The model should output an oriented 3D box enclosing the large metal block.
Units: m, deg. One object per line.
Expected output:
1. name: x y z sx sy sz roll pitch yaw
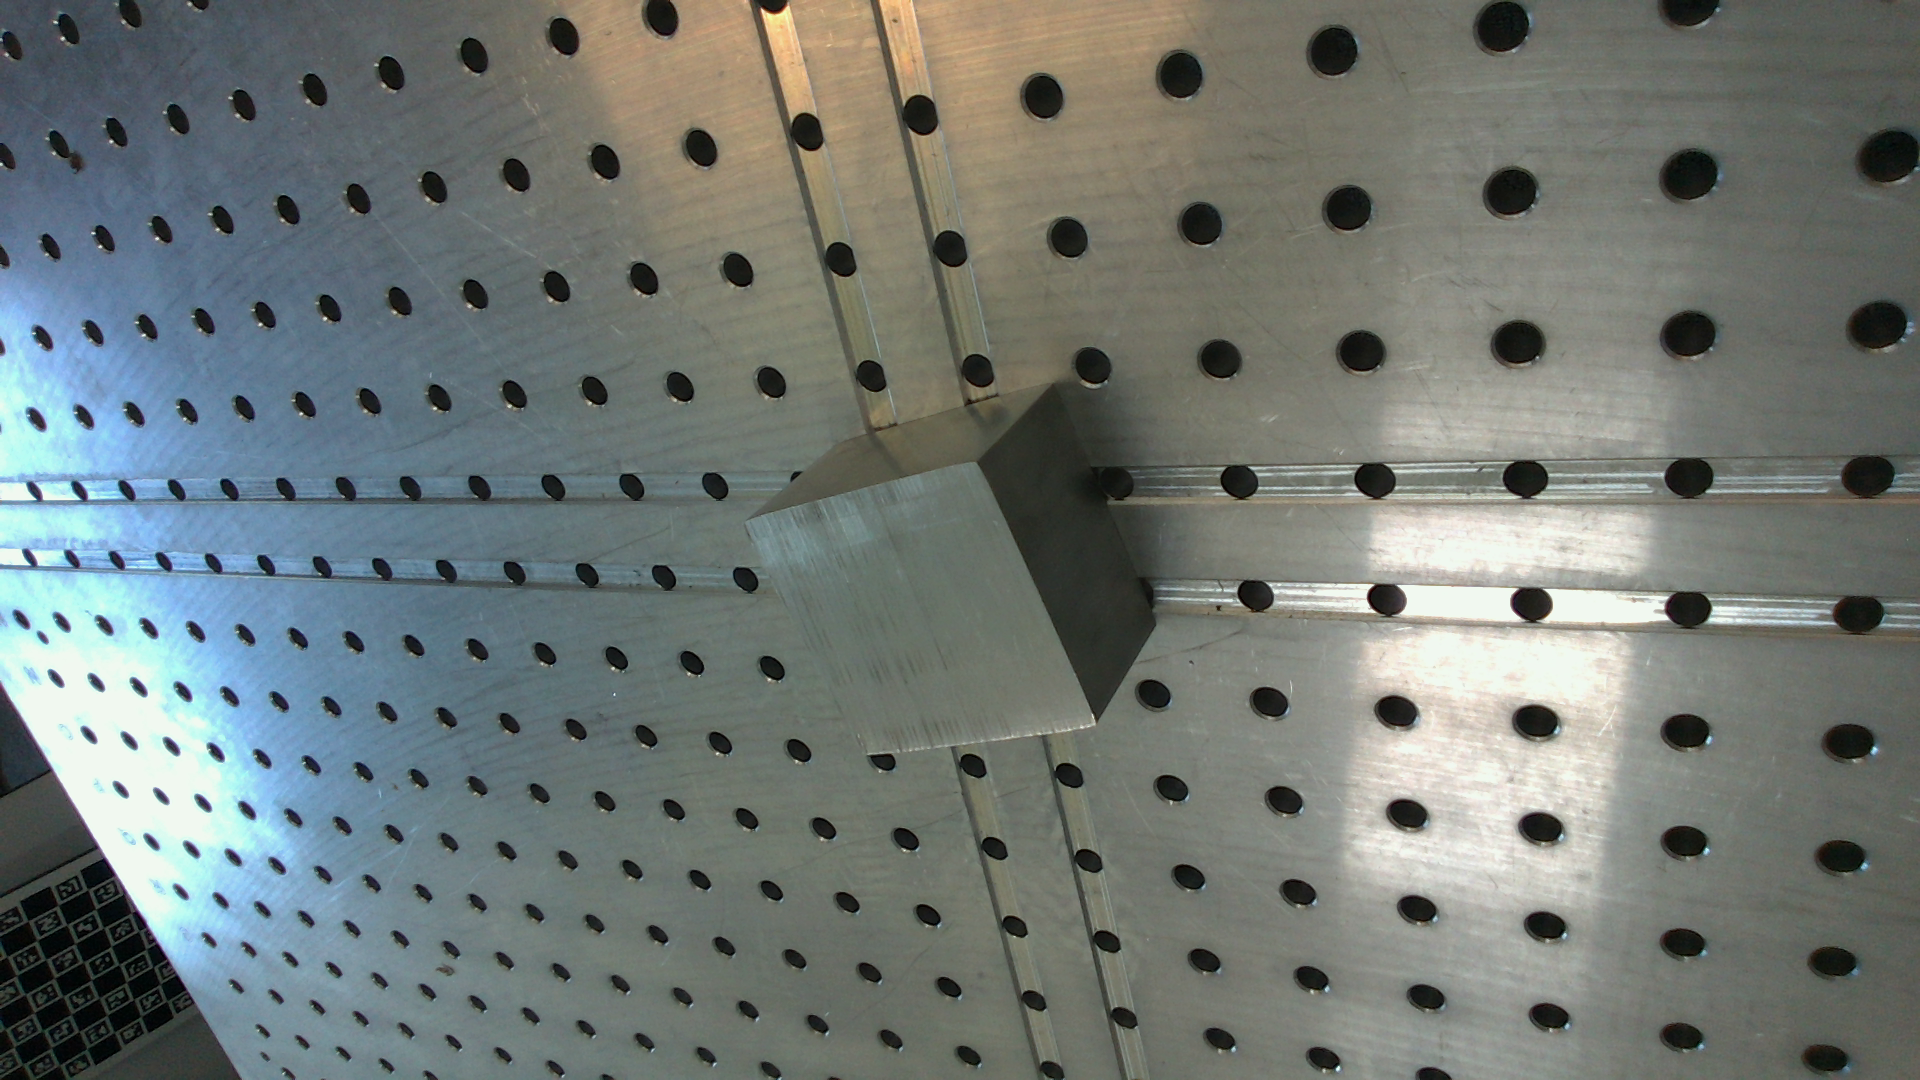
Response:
1. large metal block: -0.002 0.010 0.386 0.080 0.050 0.080 -13 112 34
